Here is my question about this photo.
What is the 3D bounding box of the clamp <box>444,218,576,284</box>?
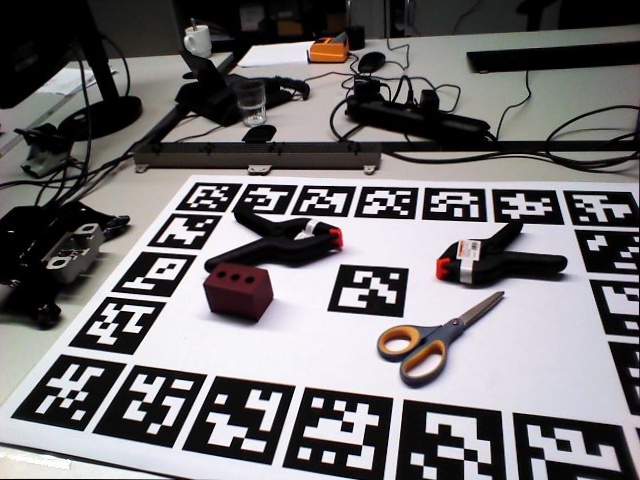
[{"bbox_3d":[0.252,0.022,0.729,0.165,0.037,0.121,-15,44,-8],"label":"clamp"}]

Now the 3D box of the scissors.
[{"bbox_3d":[0.161,0.108,0.636,0.202,0.016,0.088,-28,49,-27],"label":"scissors"}]

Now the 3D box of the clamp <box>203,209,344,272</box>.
[{"bbox_3d":[-0.064,-0.003,0.813,0.203,0.037,0.164,1,35,10],"label":"clamp"}]

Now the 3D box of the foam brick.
[{"bbox_3d":[-0.110,0.075,0.711,0.078,0.051,0.052,4,40,23],"label":"foam brick"}]
